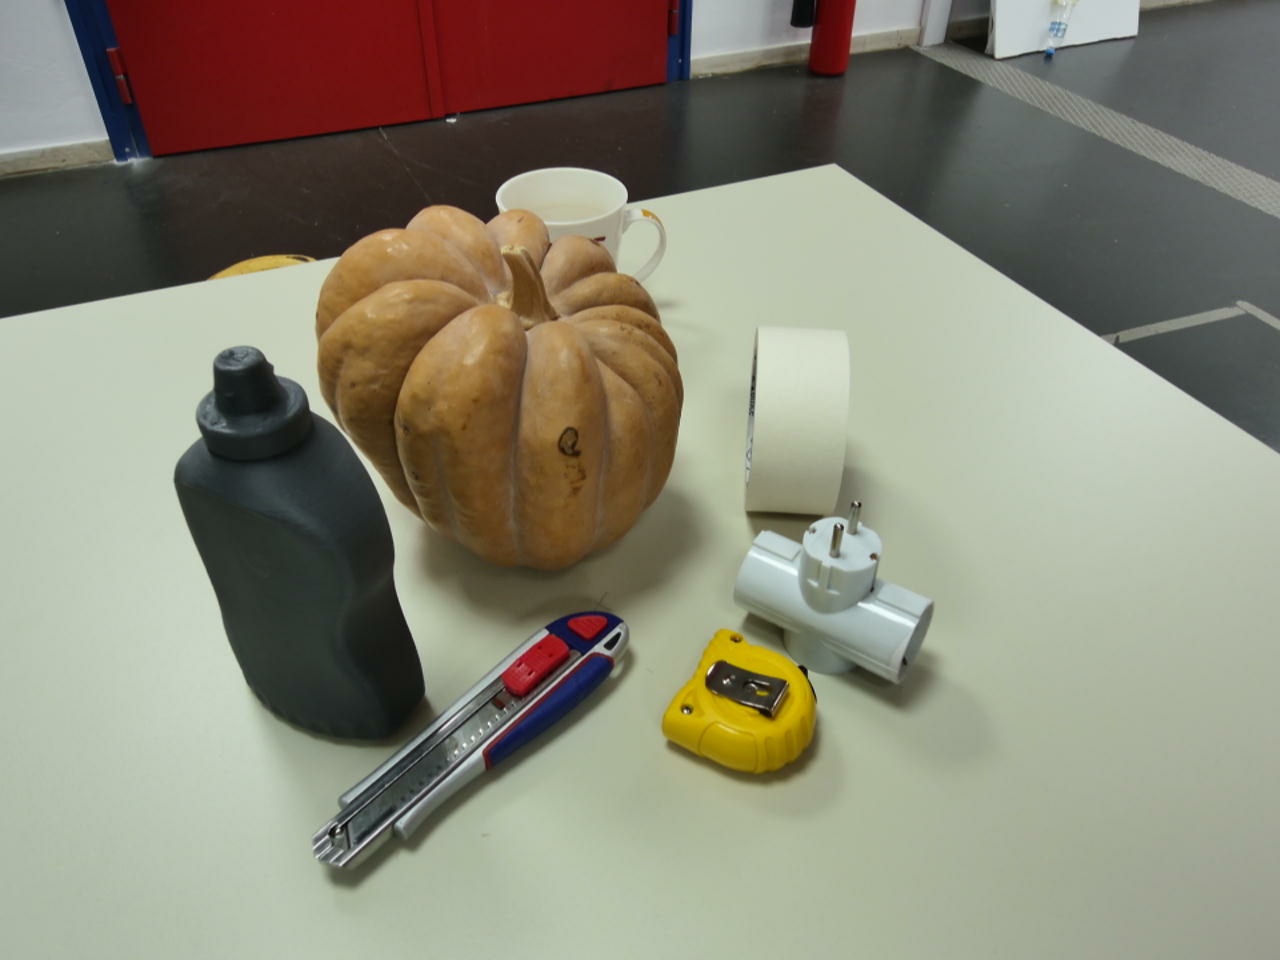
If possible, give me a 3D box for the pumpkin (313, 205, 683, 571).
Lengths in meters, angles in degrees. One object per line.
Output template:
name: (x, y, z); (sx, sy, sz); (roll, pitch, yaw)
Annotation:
pumpkin: (-0.072, -0.048, 0.534); (0.199, 0.177, 0.198); (0, 38, 0)
